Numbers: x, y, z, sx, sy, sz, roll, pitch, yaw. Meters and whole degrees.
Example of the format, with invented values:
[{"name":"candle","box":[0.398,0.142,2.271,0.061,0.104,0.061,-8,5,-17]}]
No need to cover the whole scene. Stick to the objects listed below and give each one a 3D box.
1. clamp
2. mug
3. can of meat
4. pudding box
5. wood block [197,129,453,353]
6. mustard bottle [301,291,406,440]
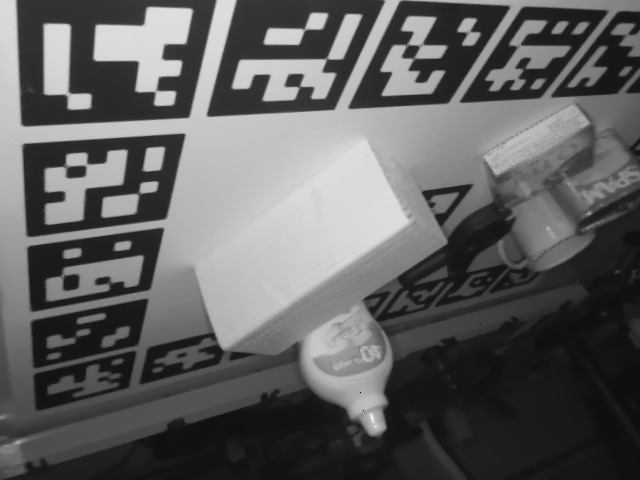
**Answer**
[{"name":"clamp","box":[0.194,0.017,0.833,0.124,0.036,0.162,8,133,-40]},{"name":"mug","box":[0.280,-0.015,0.839,0.094,0.081,0.115,10,132,-43]},{"name":"can of meat","box":[0.329,-0.062,0.752,0.102,0.084,0.057,-25,147,-1]},{"name":"pudding box","box":[0.236,-0.084,0.707,0.113,0.039,0.090,-29,148,8]},{"name":"wood block","box":[0.001,0.008,0.630,0.204,0.091,0.091,-36,149,19]},{"name":"mustard bottle","box":[0.032,0.109,0.694,0.097,0.191,0.057,-12,145,-22]}]
